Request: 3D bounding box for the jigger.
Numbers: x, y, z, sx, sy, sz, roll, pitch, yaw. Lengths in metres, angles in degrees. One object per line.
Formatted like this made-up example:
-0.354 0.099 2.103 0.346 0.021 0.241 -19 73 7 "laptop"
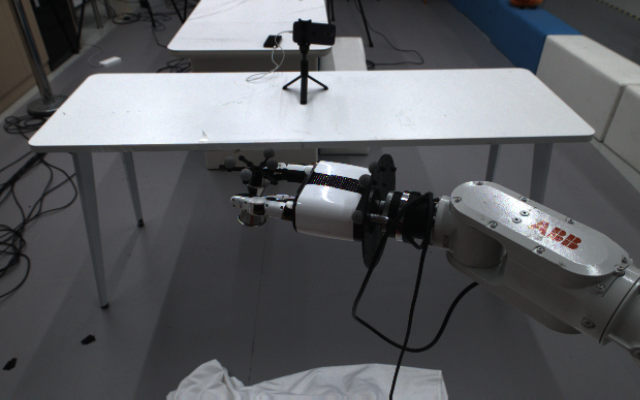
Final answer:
-0.098 0.000 0.719 0.043 0.071 0.043 9 31 -5 "jigger"
